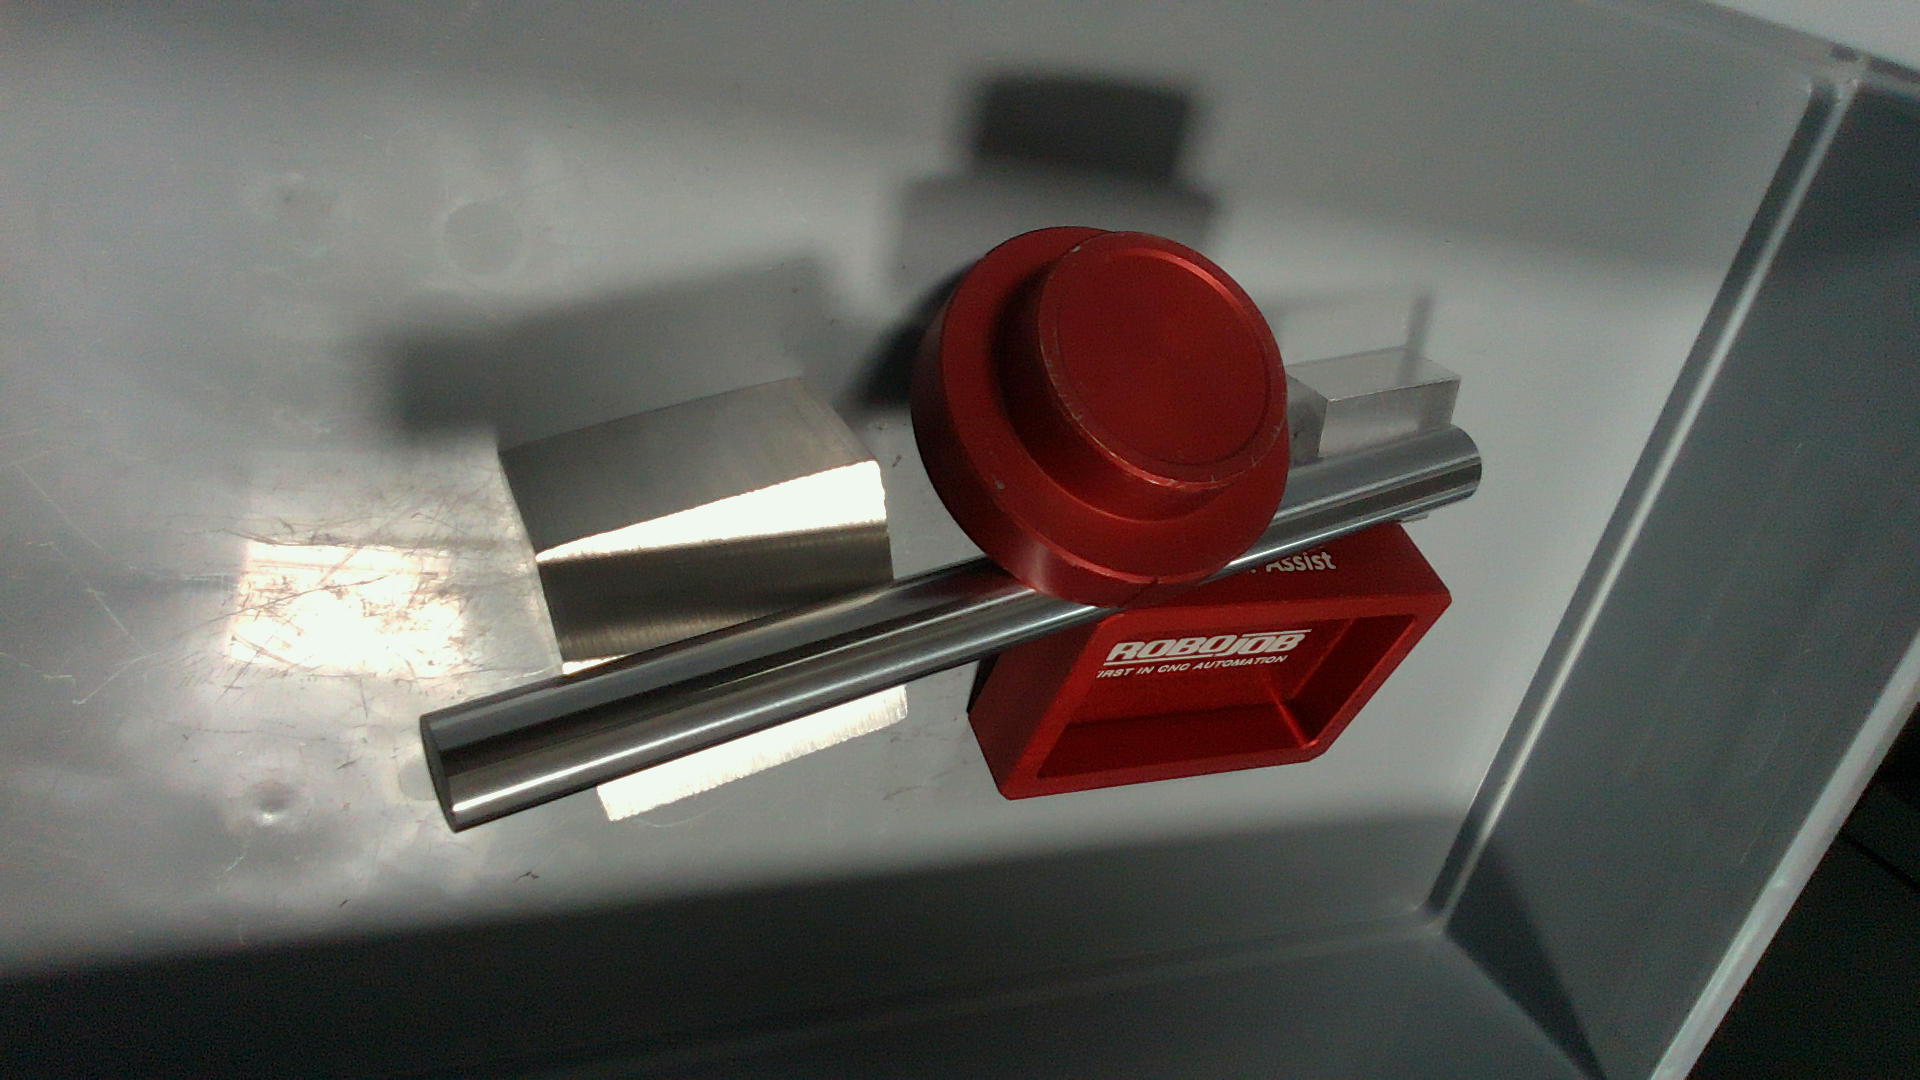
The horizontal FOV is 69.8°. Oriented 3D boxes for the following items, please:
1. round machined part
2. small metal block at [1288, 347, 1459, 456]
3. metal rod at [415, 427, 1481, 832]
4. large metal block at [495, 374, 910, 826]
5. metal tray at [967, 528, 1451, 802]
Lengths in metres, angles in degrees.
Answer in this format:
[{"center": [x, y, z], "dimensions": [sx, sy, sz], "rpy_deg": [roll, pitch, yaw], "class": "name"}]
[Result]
[{"center": [0.040, -0.036, 0.338], "dimensions": [0.098, 0.098, 0.042], "rpy_deg": [-5, 161, -26], "class": "round machined part"}, {"center": [0.125, -0.030, 0.436], "dimensions": [0.050, 0.025, 0.050], "rpy_deg": [-11, 123, -22], "class": "small metal block"}, {"center": [0.021, 0.012, 0.349], "dimensions": [0.301, 0.025, 0.025], "rpy_deg": [-15, 125, -29], "class": "metal rod"}, {"center": [-0.062, 0.013, 0.345], "dimensions": [0.080, 0.050, 0.080], "rpy_deg": [-17, 125, -19], "class": "large metal block"}, {"center": [0.078, 0.038, 0.432], "dimensions": [0.130, 0.030, 0.090], "rpy_deg": [-2, 139, -28], "class": "metal tray"}]
